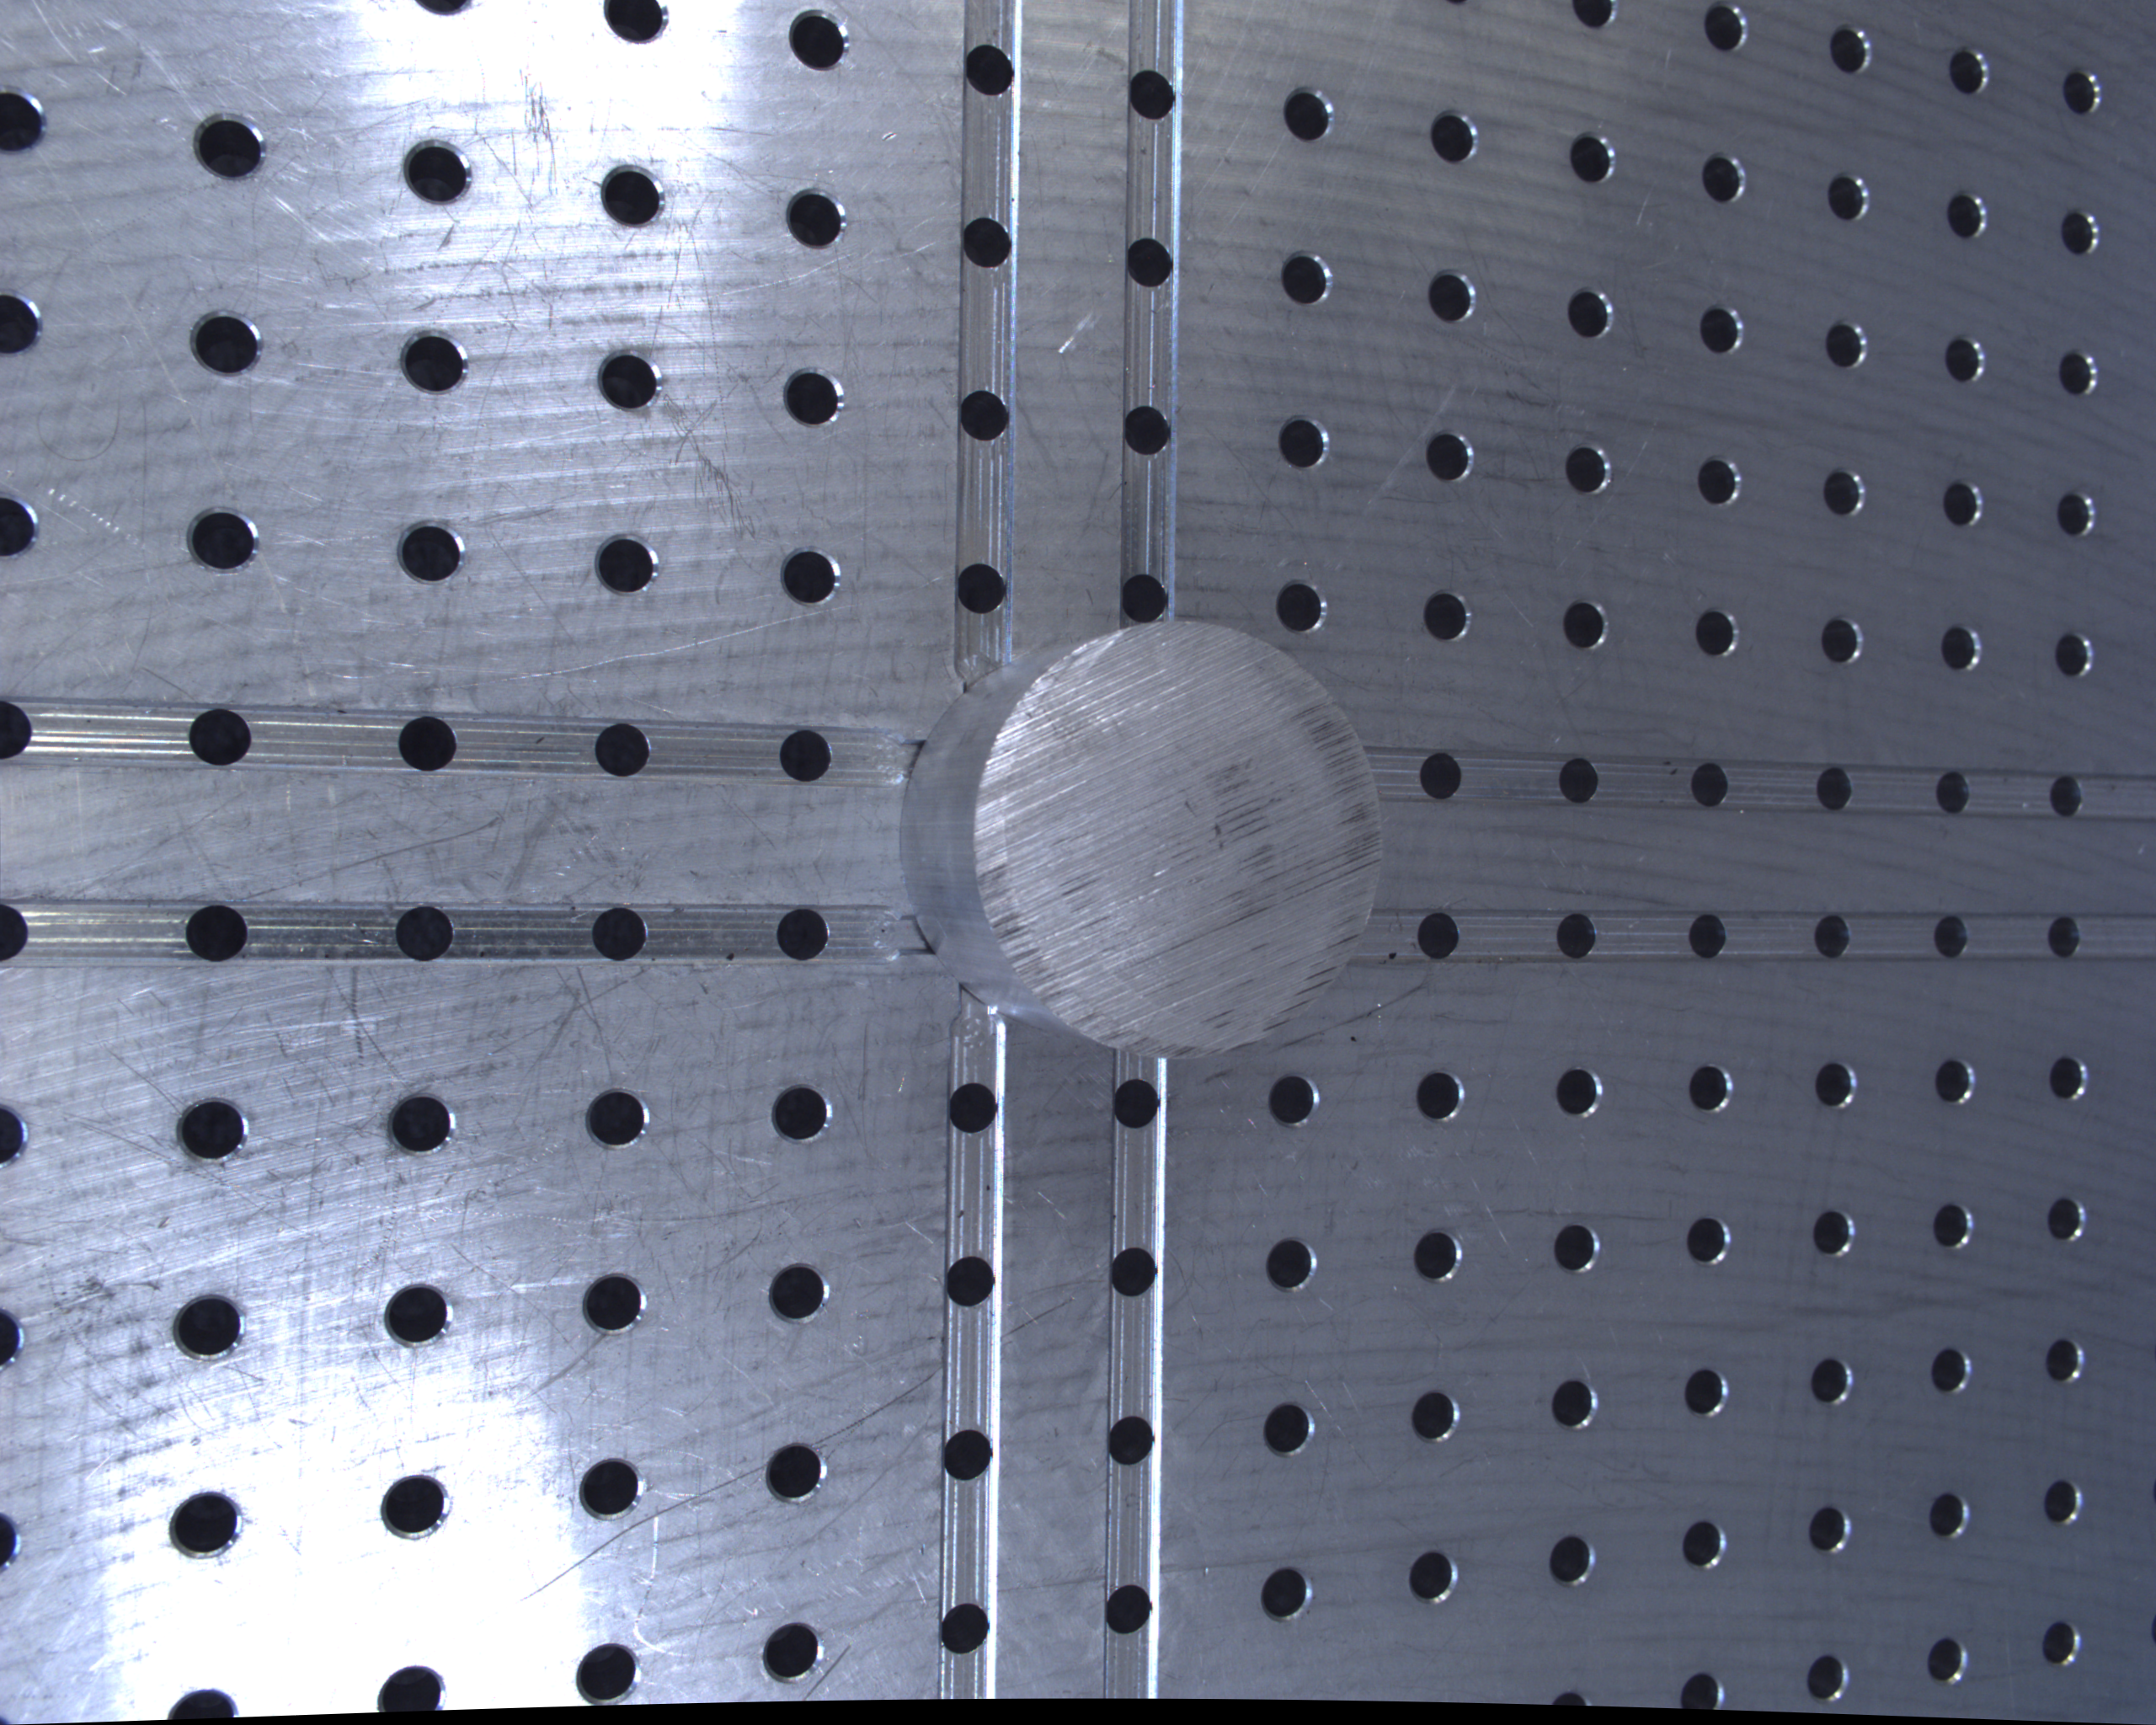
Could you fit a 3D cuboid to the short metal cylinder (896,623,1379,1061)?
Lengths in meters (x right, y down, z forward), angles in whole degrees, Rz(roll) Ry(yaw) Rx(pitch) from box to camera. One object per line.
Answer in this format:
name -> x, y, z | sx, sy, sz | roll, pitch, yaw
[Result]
short metal cylinder -> 0.010, -0.004, 0.403 | 0.081, 0.050, 0.080 | 0, 90, -20
